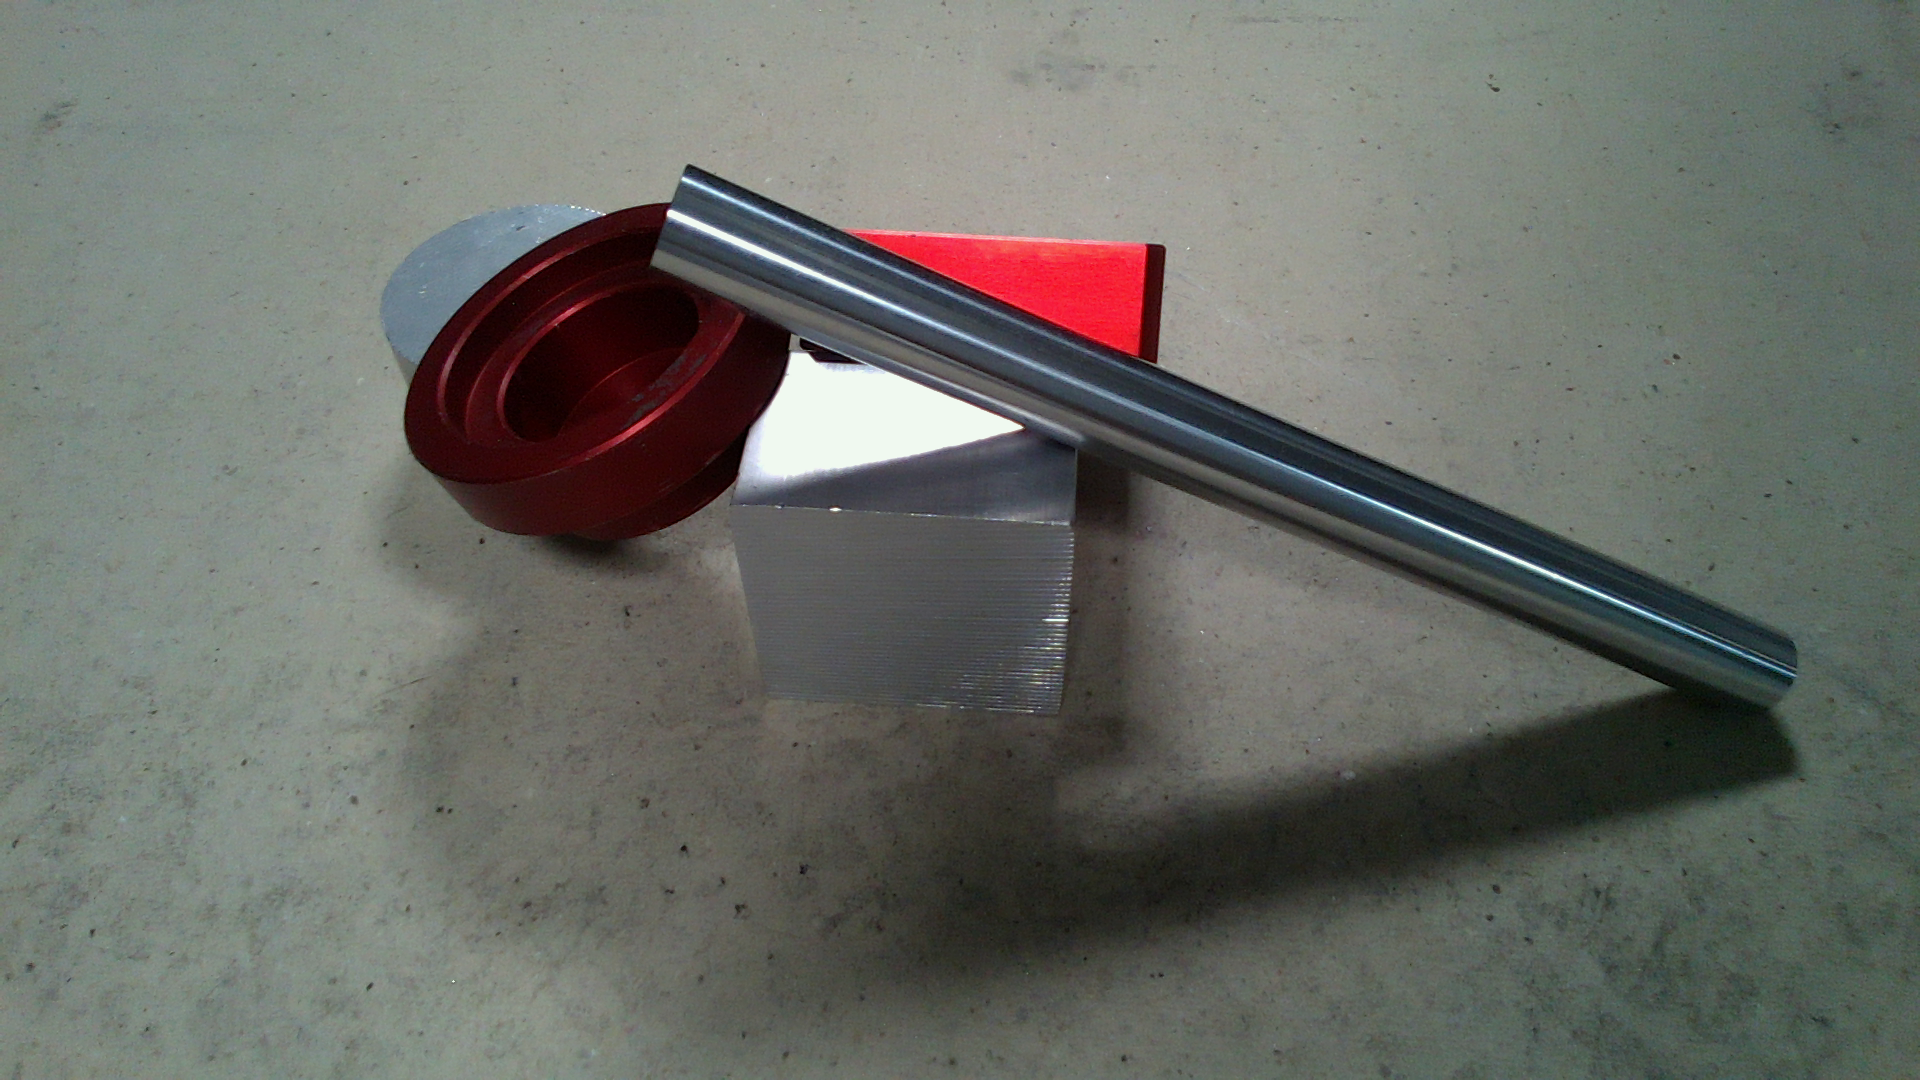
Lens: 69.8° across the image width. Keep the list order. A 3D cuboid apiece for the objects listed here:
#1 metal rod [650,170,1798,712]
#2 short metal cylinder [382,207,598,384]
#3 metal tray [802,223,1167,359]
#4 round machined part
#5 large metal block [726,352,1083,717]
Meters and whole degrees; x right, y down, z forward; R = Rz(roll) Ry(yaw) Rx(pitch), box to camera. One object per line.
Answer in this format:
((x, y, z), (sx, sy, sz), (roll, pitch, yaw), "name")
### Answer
((0.075, -0.016, 0.329), (0.301, 0.025, 0.025), (20, 49, -14), "metal rod")
((-0.129, -0.058, 0.424), (0.080, 0.050, 0.080), (0, 50, 0), "short metal cylinder")
((0.009, -0.072, 0.399), (0.090, 0.030, 0.130), (3, 10, 3), "metal tray")
((-0.089, -0.039, 0.356), (0.098, 0.042, 0.098), (-14, 47, 15), "round machined part")
((-0.011, 0.000, 0.355), (0.080, 0.080, 0.050), (3, 50, 3), "large metal block")
